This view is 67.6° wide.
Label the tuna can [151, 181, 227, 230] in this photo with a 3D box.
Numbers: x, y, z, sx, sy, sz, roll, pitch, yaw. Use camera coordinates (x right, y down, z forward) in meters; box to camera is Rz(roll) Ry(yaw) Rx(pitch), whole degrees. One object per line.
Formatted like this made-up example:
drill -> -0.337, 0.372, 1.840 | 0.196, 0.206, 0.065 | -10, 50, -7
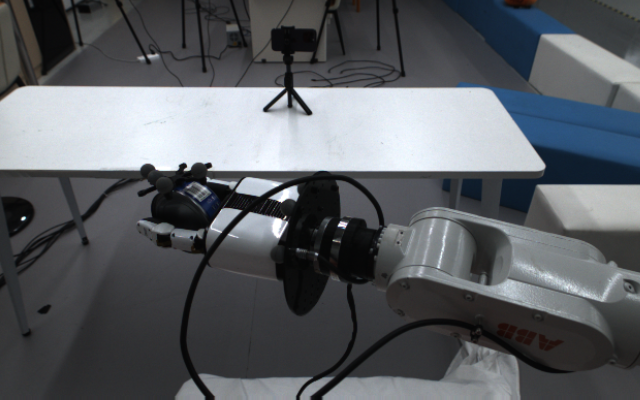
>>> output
tuna can -> -0.151, 0.019, 0.569 | 0.085, 0.085, 0.034 | 17, 36, 20
